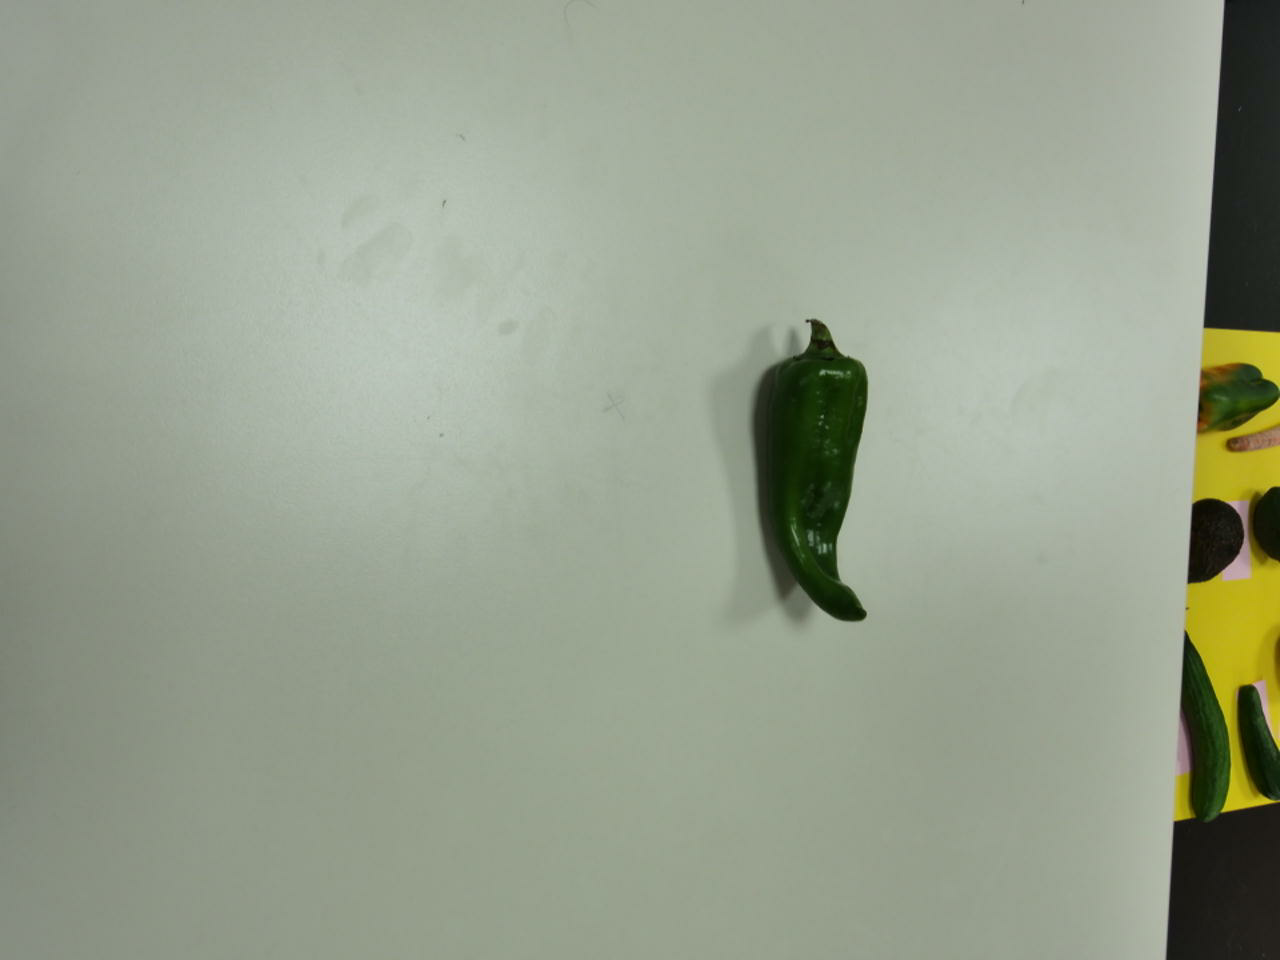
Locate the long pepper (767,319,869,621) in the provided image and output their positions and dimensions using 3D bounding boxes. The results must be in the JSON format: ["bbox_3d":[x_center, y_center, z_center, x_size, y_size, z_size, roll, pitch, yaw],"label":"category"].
[{"bbox_3d":[0.105,-0.008,0.579,0.058,0.065,0.175,3,89,-22],"label":"long pepper"}]
